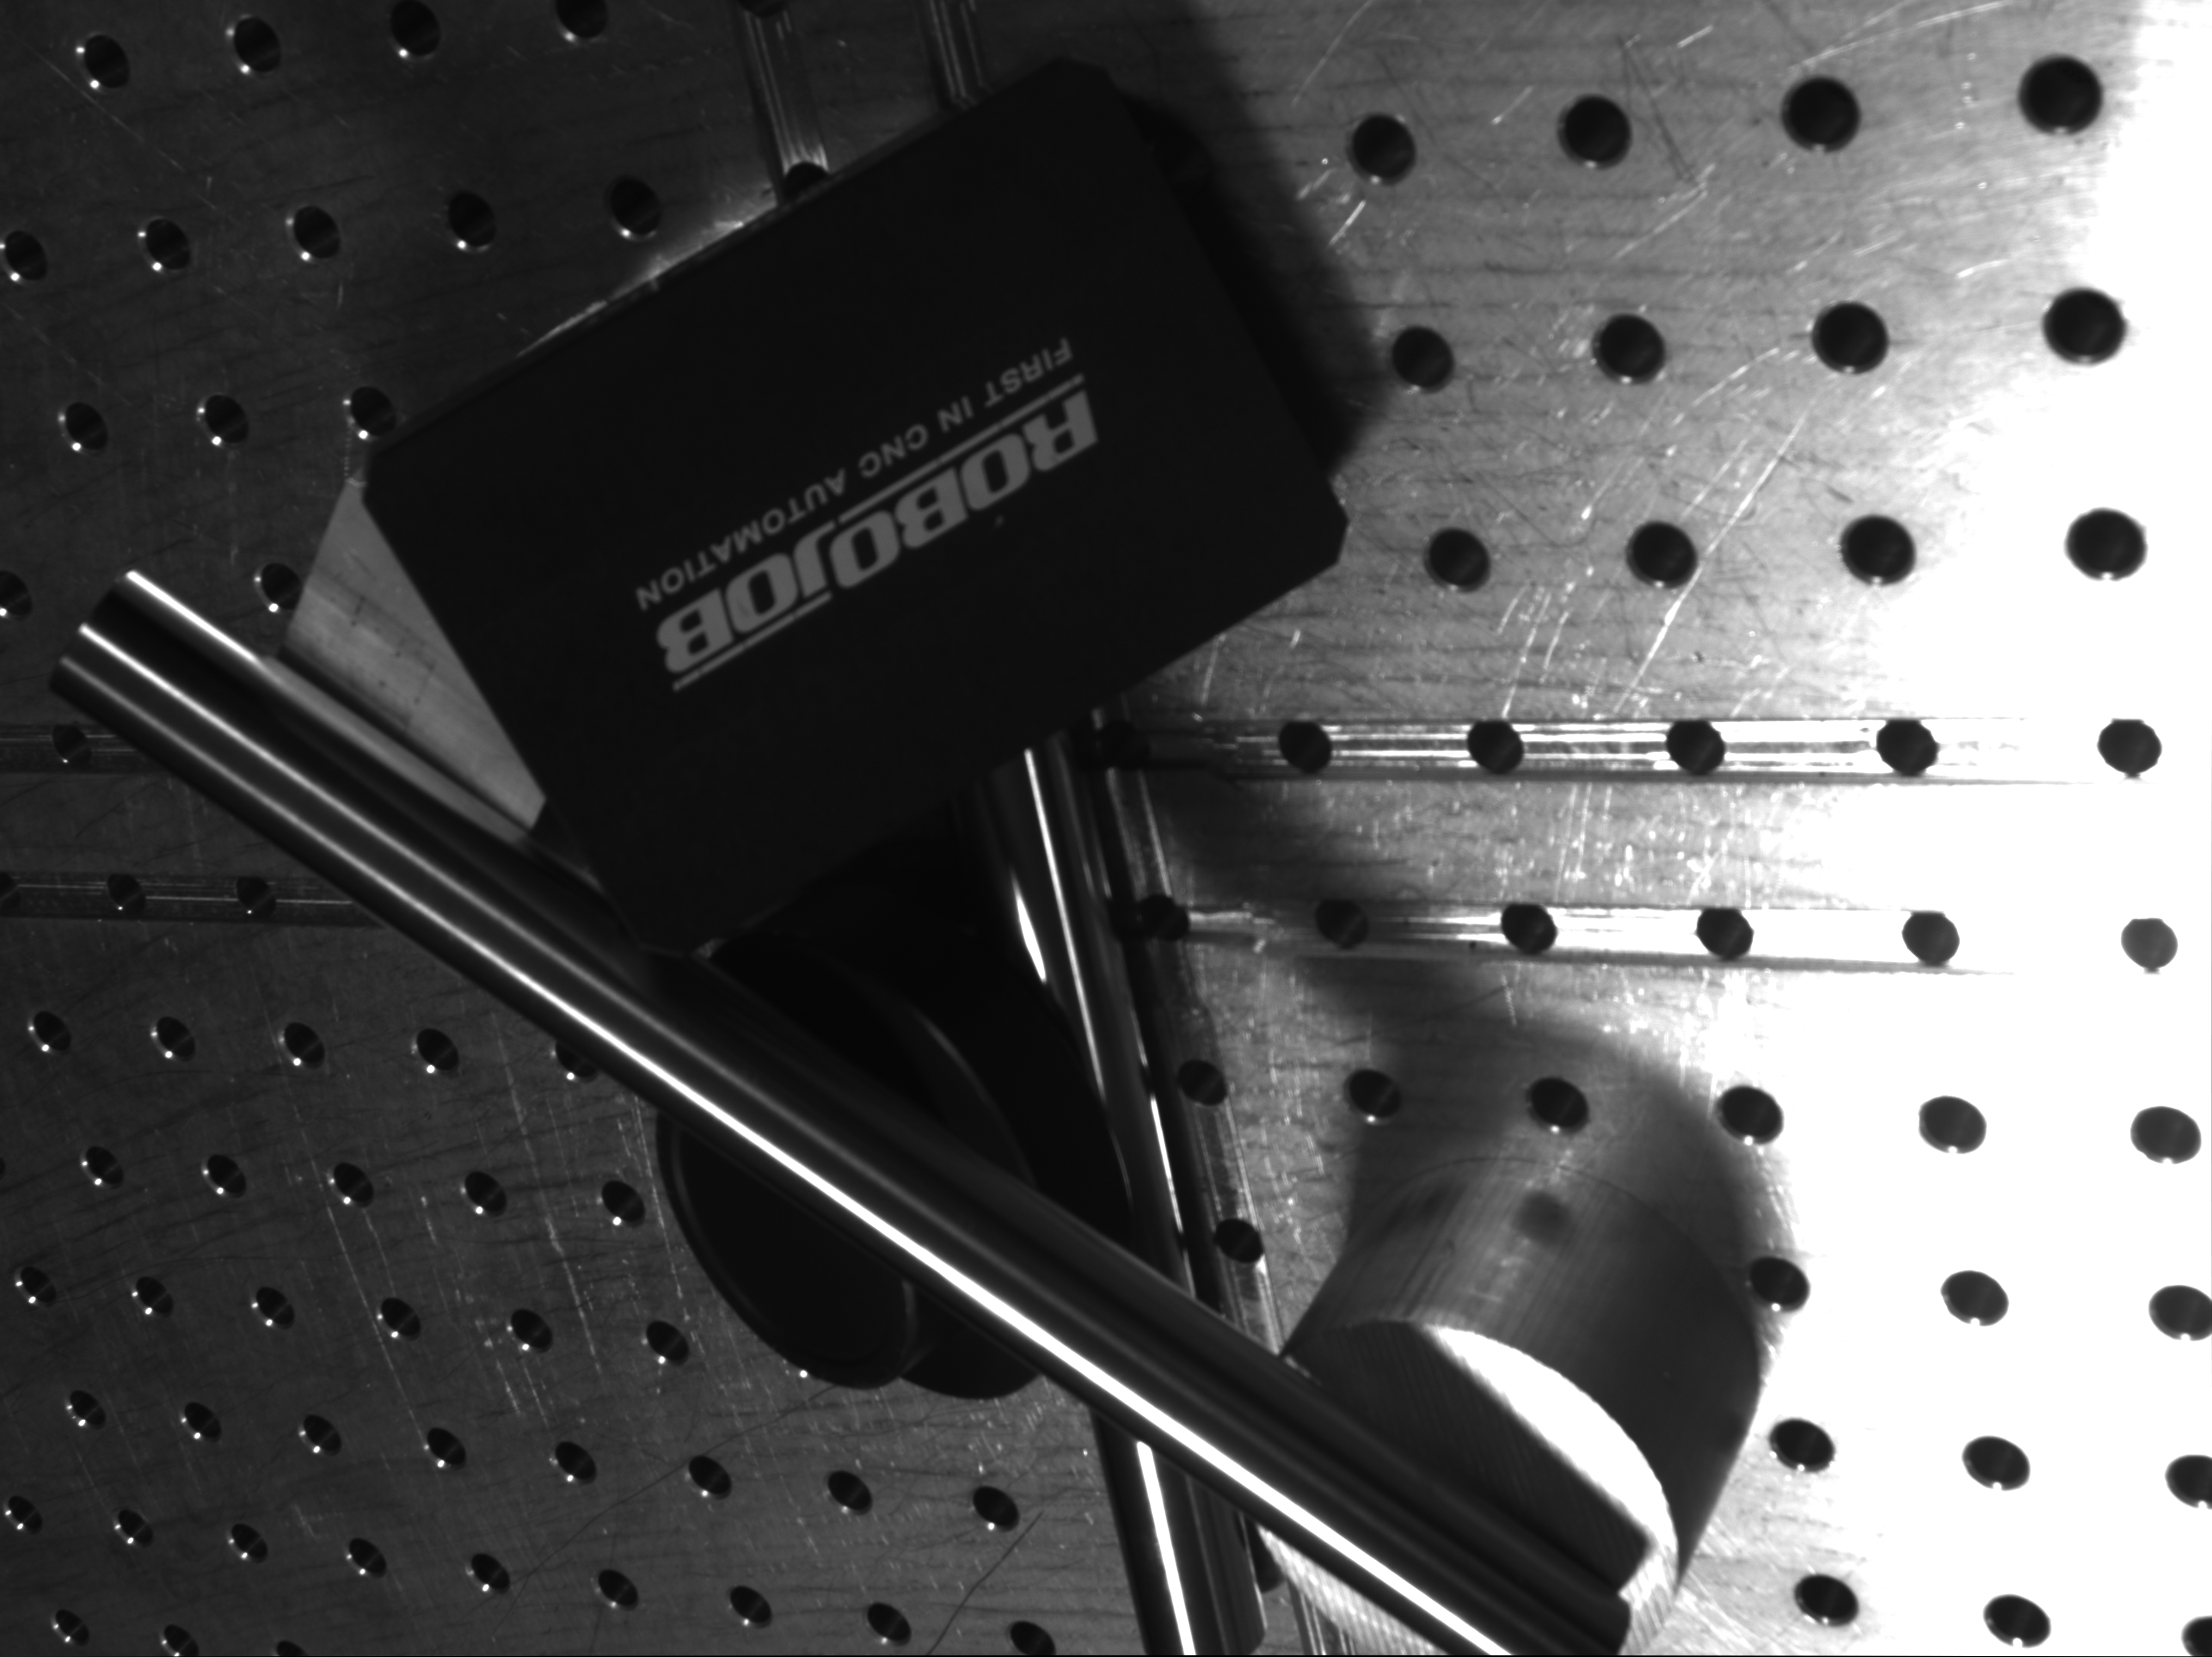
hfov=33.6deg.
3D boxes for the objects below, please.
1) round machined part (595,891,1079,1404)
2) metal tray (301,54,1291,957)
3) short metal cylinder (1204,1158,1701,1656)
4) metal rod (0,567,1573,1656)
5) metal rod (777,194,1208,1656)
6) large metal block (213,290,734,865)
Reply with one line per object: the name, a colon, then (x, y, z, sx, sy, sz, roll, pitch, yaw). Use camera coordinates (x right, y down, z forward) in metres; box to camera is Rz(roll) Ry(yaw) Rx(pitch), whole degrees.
round machined part: (-0.055, 0.064, 0.670, 0.098, 0.042, 0.098, 26, 133, 32)
metal tray: (-0.048, -0.051, 0.574, 0.130, 0.030, 0.090, -31, 105, -6)
short metal cylinder: (0.060, 0.106, 0.652, 0.080, 0.050, 0.080, 12, 123, 20)
metal rod: (-0.051, 0.054, 0.602, 0.300, 0.025, 0.025, 35, 128, -6)
metal rod: (-0.019, 0.027, 0.660, 0.025, 0.025, 0.300, 2, 119, 26)
large metal block: (-0.110, -0.035, 0.635, 0.050, 0.080, 0.080, 35, 128, 4)
